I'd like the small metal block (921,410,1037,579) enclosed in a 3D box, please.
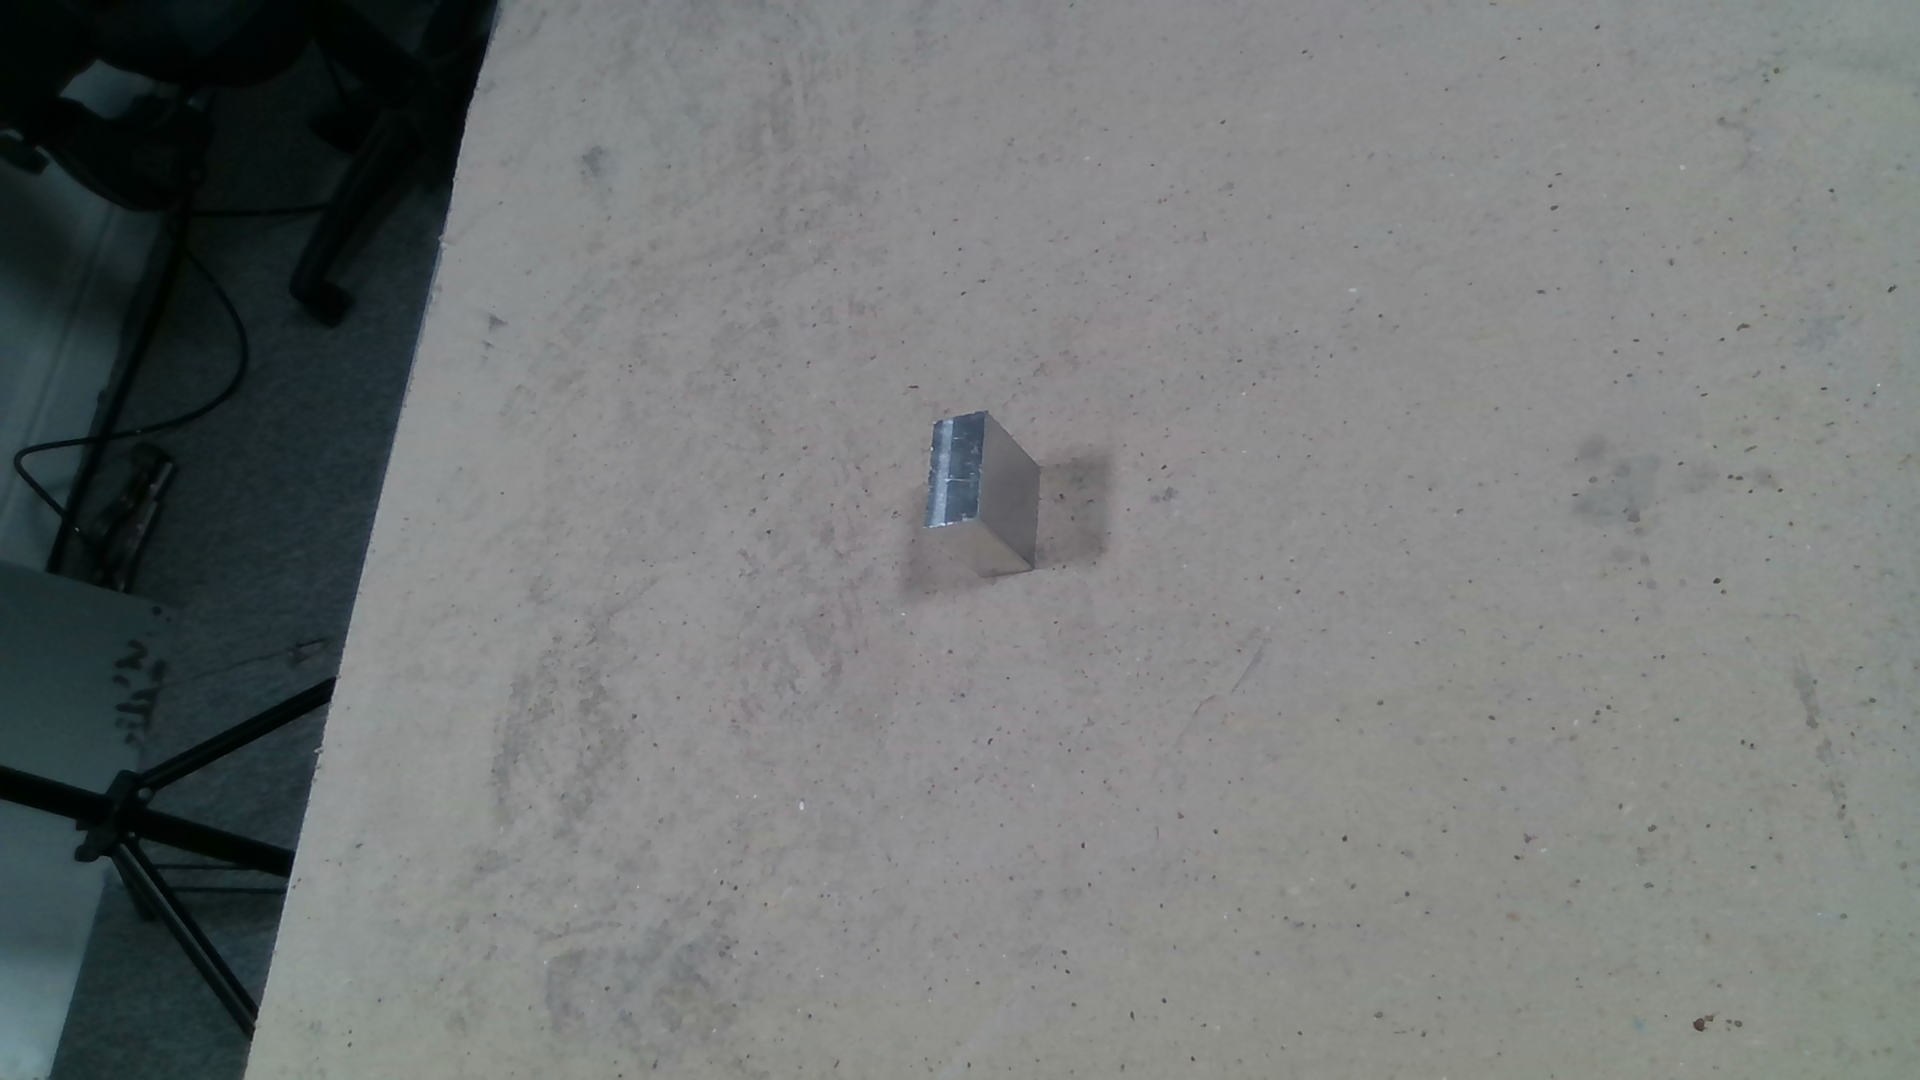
[{"bbox_3d":[0.009,-0.018,0.573,0.025,0.050,0.050,-9,61,28],"label":"small metal block"}]
